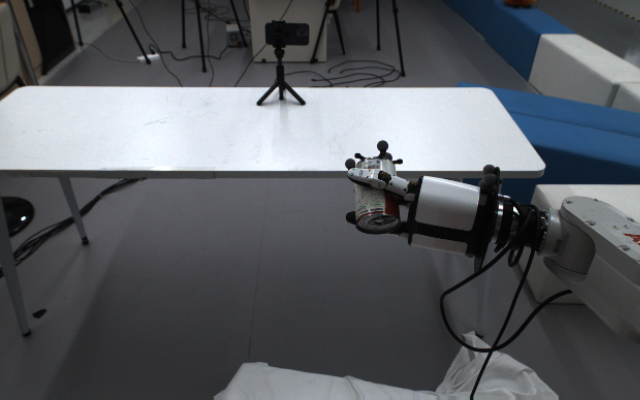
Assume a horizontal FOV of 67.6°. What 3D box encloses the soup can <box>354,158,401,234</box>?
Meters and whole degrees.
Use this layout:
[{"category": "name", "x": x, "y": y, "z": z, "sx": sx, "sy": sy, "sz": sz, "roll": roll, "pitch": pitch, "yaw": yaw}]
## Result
[{"category": "soup can", "x": 0.087, "y": -0.007, "z": 0.745, "sx": 0.067, "sy": 0.067, "sz": 0.101, "roll": 1, "pitch": 62, "yaw": -2}]
